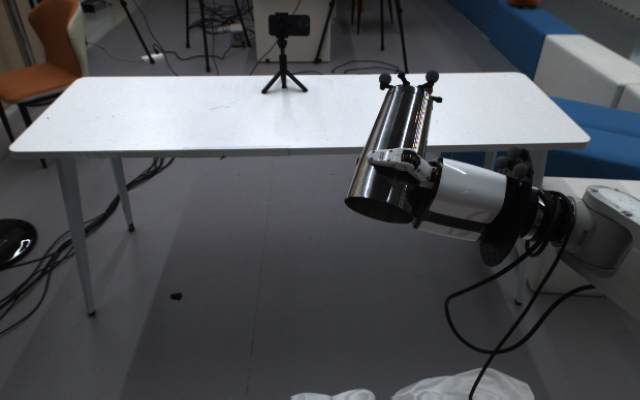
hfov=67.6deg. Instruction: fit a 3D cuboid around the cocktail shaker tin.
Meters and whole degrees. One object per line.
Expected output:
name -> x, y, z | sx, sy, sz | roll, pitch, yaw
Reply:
cocktail shaker tin -> 0.100, -0.064, 0.647 | 0.093, 0.093, 0.170 | 13, 73, 15
